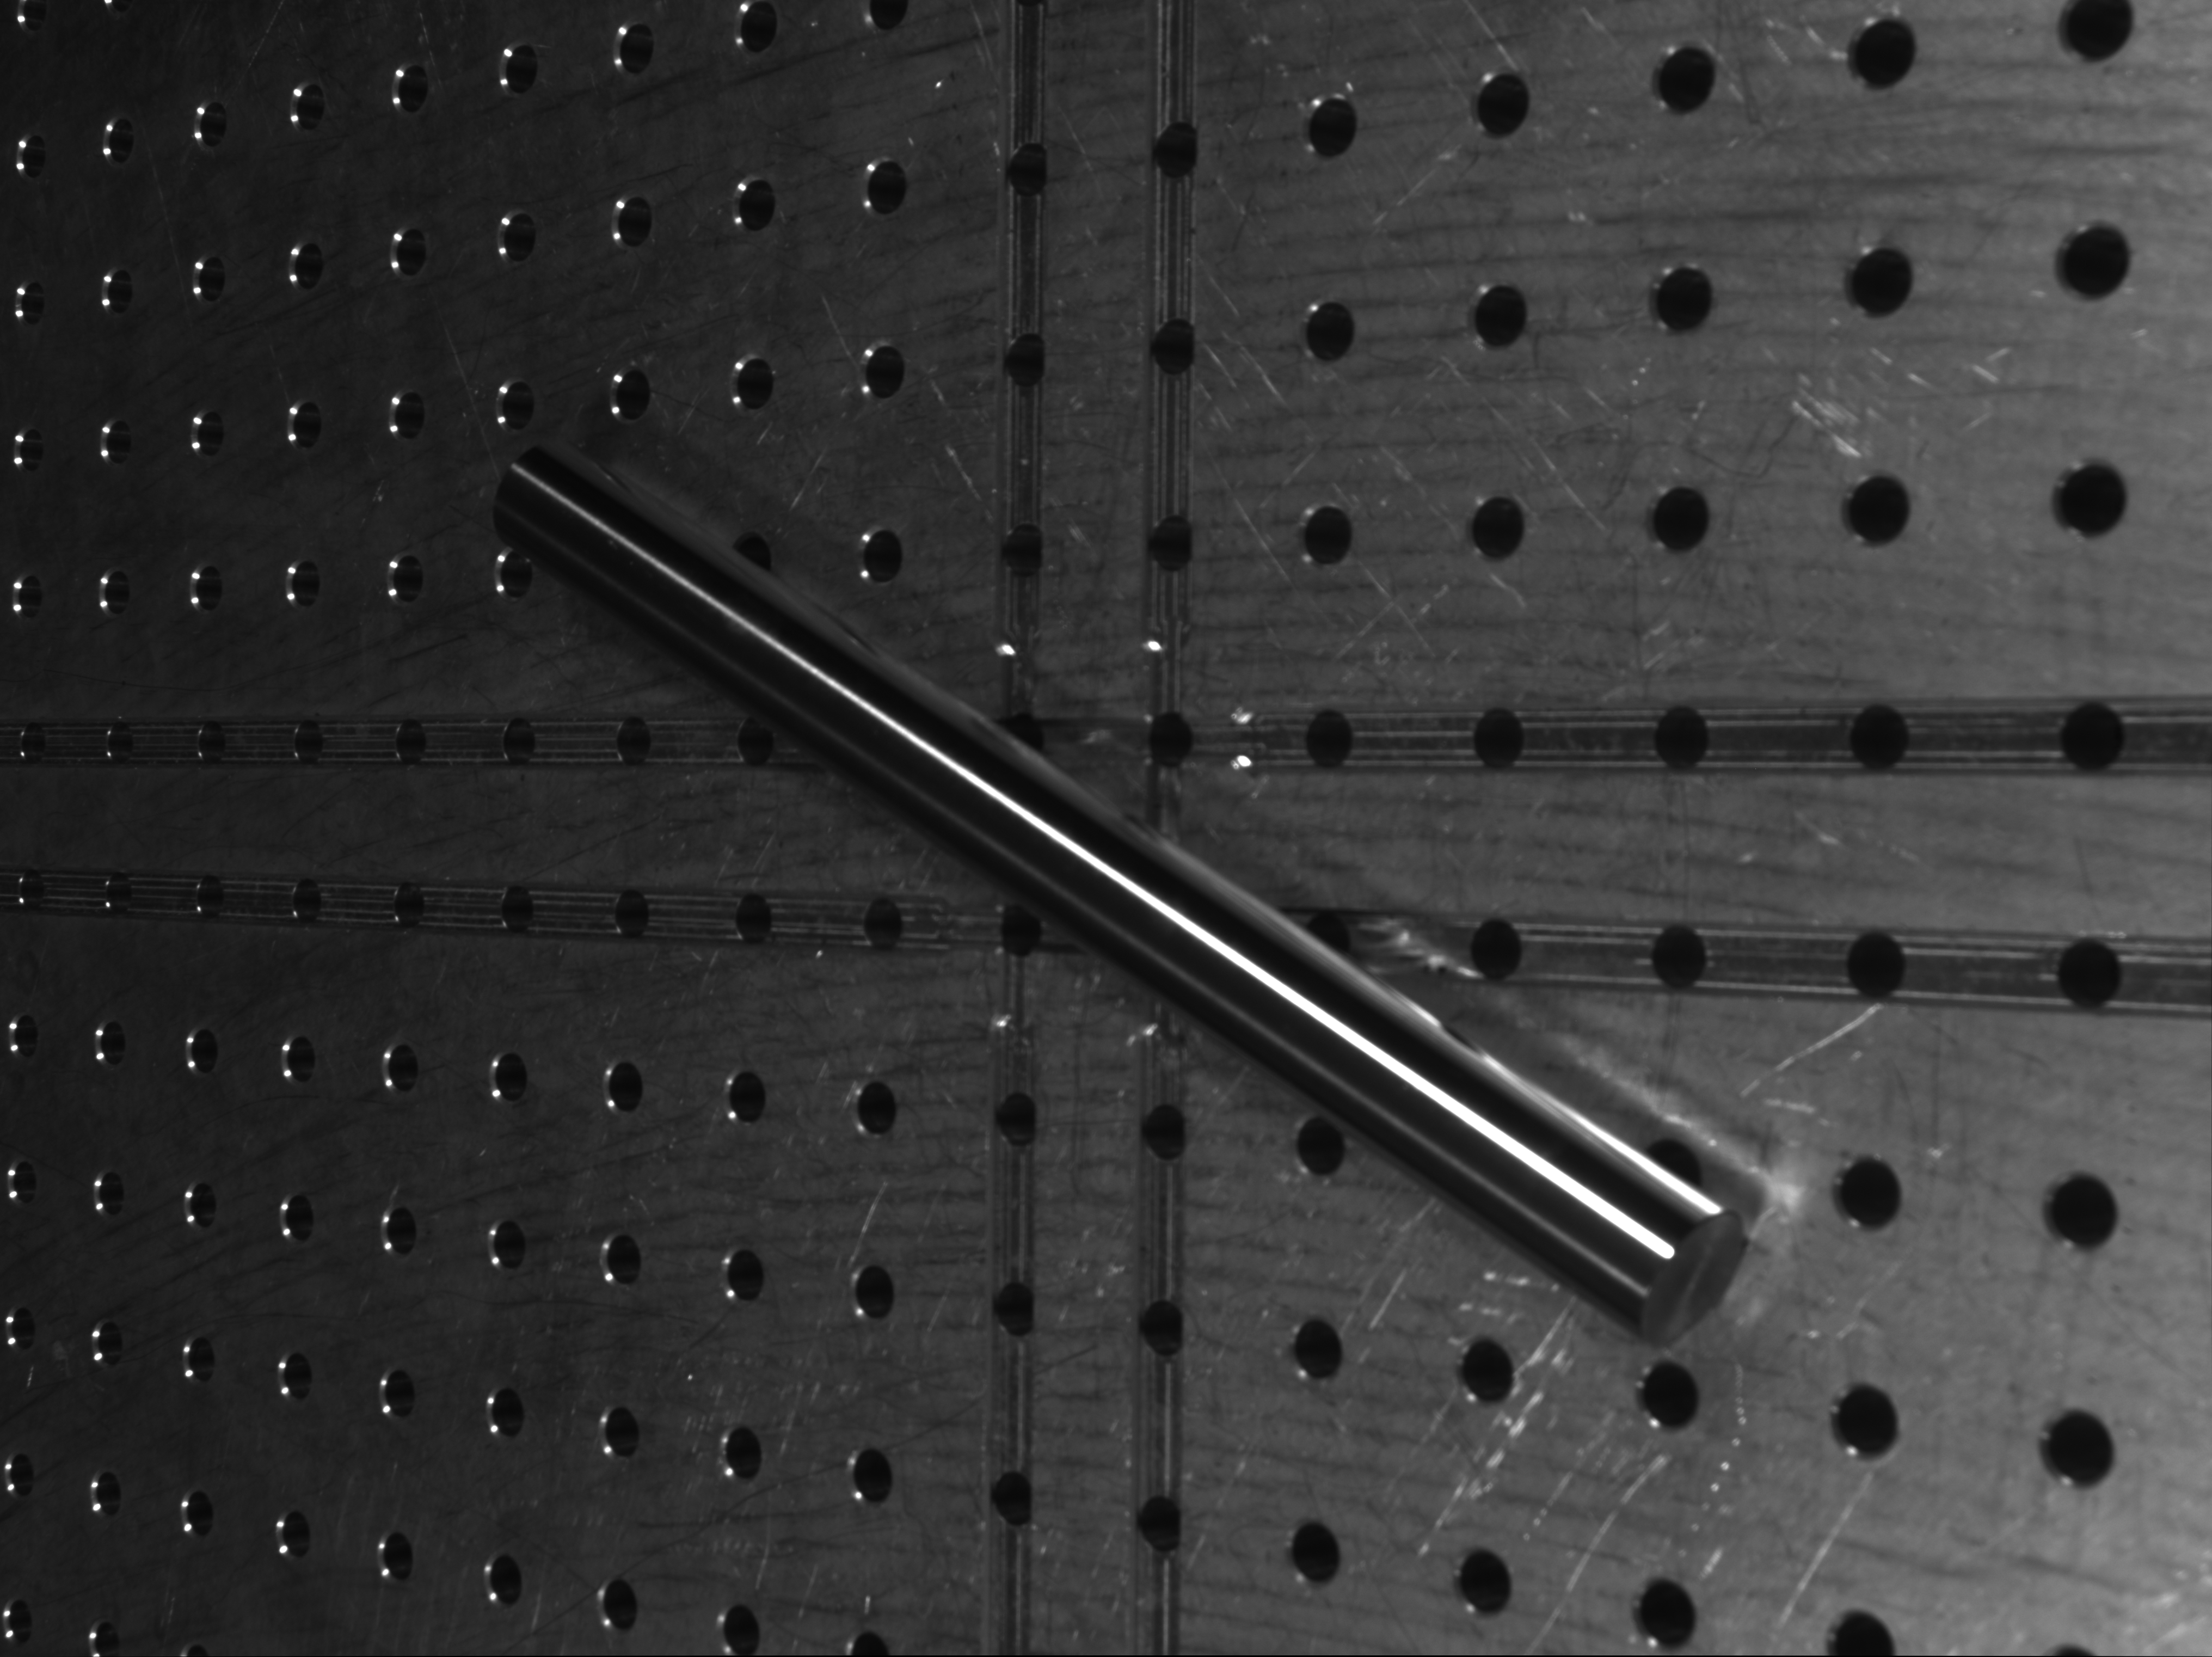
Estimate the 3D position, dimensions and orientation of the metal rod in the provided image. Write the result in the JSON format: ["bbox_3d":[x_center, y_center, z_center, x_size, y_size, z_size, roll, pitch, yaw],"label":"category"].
[{"bbox_3d":[-0.016,0.002,0.653,0.299,0.025,0.025,34,110,34],"label":"metal rod"}]
